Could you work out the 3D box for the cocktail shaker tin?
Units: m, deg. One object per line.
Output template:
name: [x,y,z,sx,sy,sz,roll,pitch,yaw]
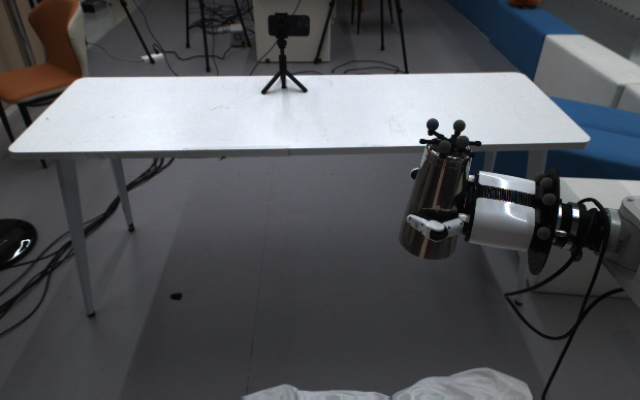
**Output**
cocktail shaker tin: [0.180,-0.006,0.735,0.093,0.170,0.093,3,34,-2]
